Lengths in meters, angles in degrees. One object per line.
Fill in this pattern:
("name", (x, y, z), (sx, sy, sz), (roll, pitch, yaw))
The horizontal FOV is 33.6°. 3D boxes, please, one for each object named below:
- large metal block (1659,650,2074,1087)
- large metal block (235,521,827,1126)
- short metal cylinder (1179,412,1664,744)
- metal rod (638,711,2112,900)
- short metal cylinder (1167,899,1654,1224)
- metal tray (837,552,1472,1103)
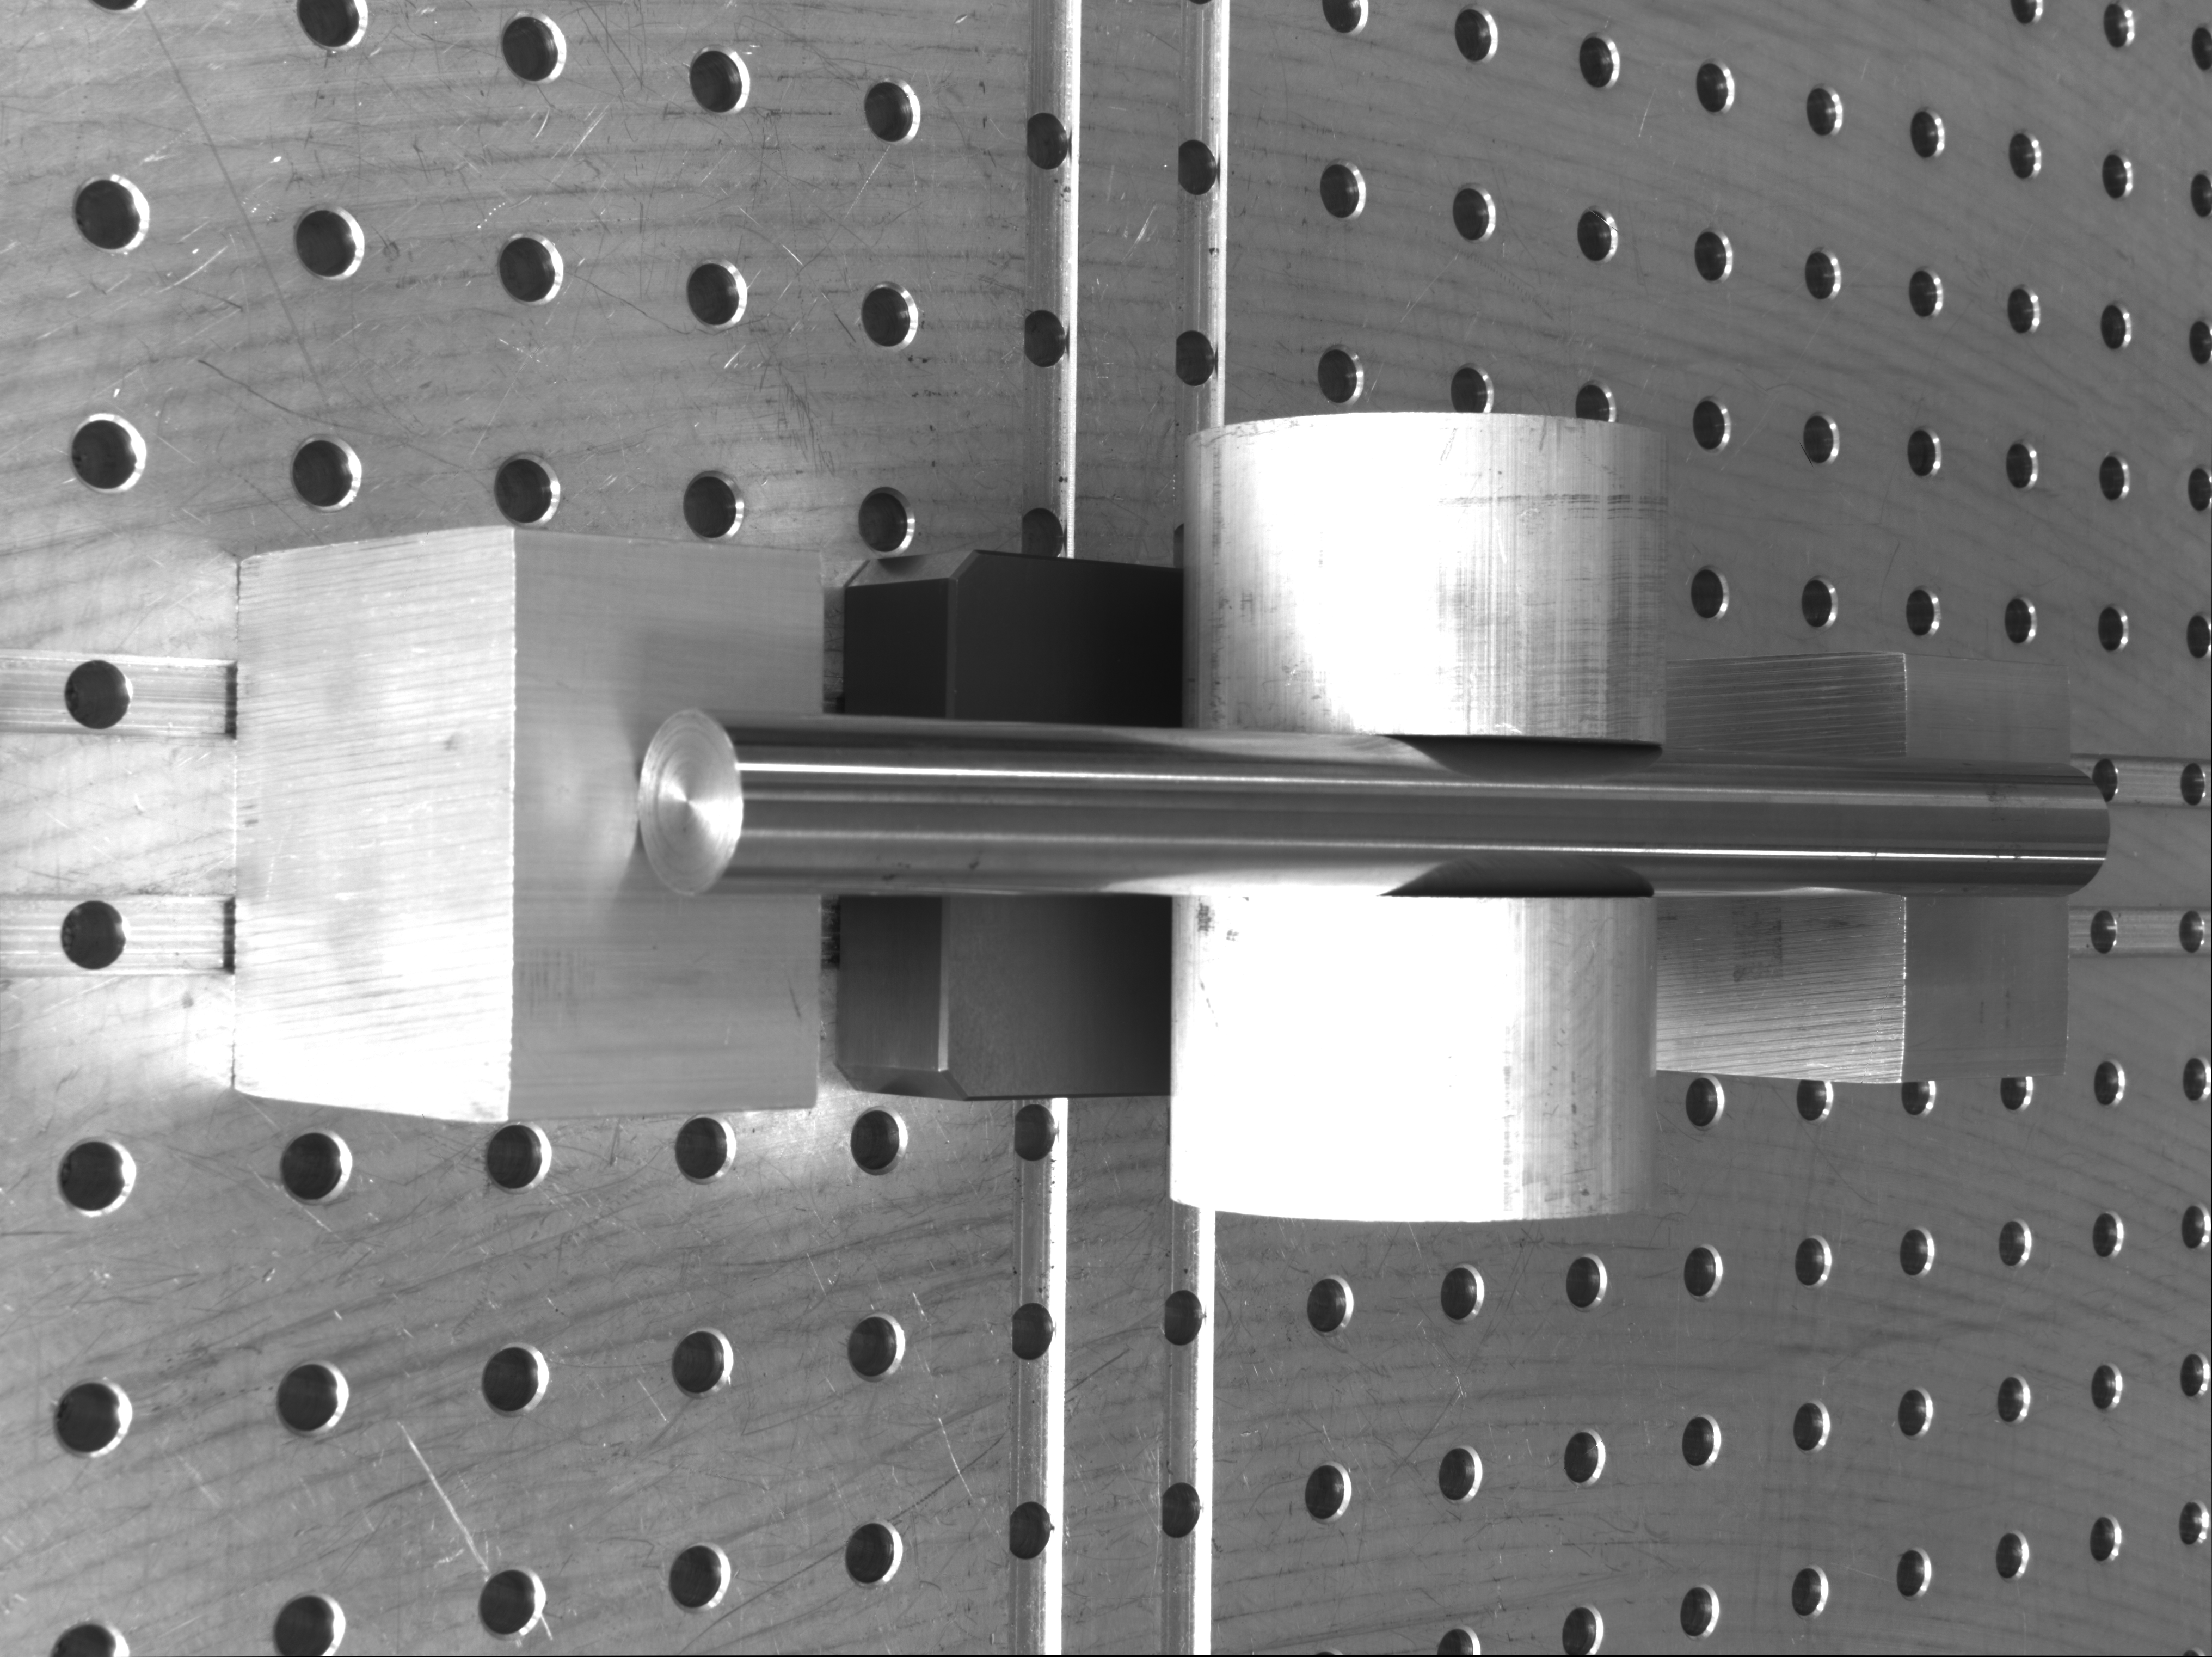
("large metal block", (0.141, 0.008, 0.718), (0.050, 0.080, 0.080), (1, 89, -40))
("large metal block", (-0.084, 0.000, 0.531), (0.050, 0.080, 0.080), (1, 89, -40))
("short metal cylinder", (0.052, -0.039, 0.608), (0.080, 0.080, 0.050), (1, 89, -40))
("metal rod", (0.060, -0.001, 0.585), (0.301, 0.025, 0.025), (1, 89, -40))
("short metal cylinder", (0.050, 0.036, 0.606), (0.080, 0.080, 0.050), (1, 89, -40))
("metal tray", (0.015, 0.001, 0.648), (0.131, 0.030, 0.090), (2, 89, -40))
